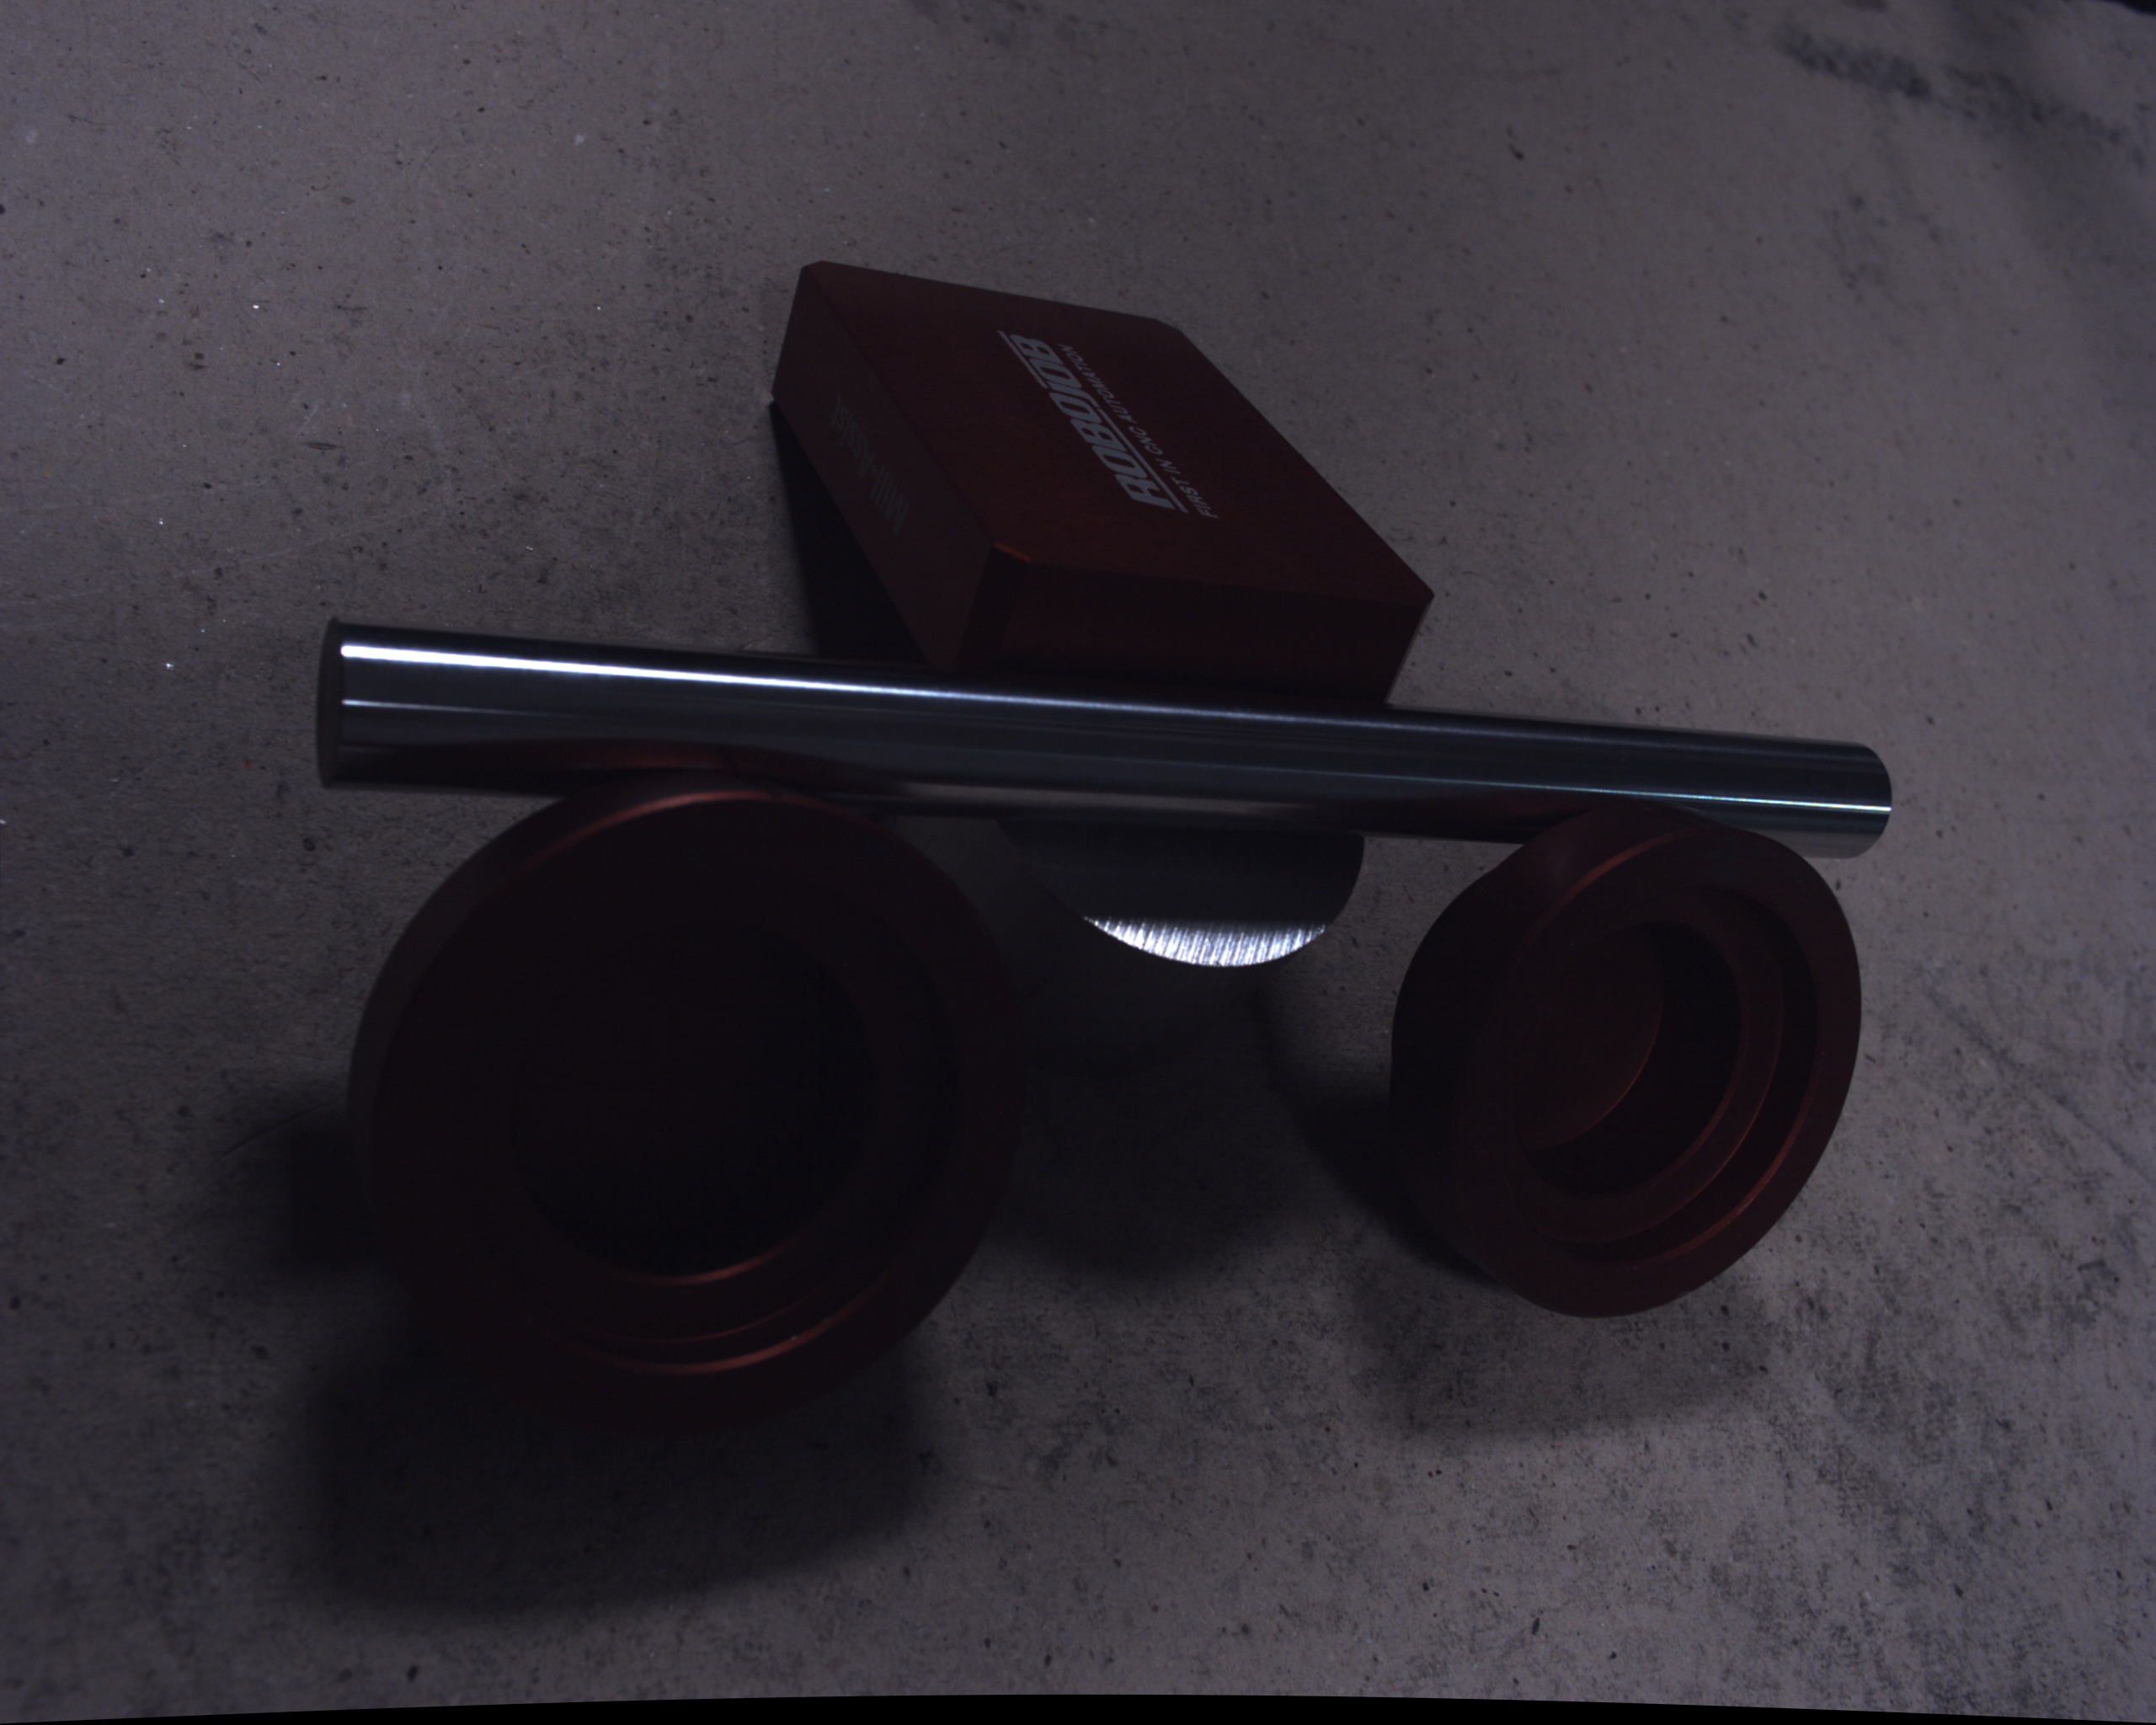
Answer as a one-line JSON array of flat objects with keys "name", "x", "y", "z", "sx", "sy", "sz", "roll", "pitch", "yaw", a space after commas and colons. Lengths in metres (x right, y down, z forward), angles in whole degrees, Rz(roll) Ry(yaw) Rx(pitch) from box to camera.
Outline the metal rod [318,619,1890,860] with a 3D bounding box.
[{"name": "metal rod", "x": 0.027, "y": -0.018, "z": 0.369, "sx": 0.303, "sy": 0.025, "sz": 0.025, "roll": 2, "pitch": 61, "yaw": -28}]

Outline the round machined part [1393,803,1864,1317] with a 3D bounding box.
[{"name": "round machined part", "x": 0.102, "y": 0.035, "z": 0.407, "sx": 0.099, "sy": 0.042, "sz": 0.097, "roll": -8, "pitch": 108, "yaw": -26}]

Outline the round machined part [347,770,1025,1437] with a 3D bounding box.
[{"name": "round machined part", "x": -0.061, "y": 0.034, "z": 0.321, "sx": 0.099, "sy": 0.042, "sz": 0.097, "roll": -6, "pitch": 103, "yaw": -28}]

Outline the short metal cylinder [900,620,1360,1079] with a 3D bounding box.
[{"name": "short metal cylinder", "x": 0.006, "y": -0.005, "z": 0.398, "sx": 0.081, "sy": 0.050, "sz": 0.080, "roll": 14, "pitch": 56, "yaw": -21}]

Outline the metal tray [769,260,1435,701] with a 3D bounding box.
[{"name": "metal tray", "x": 0.000, "y": -0.075, "z": 0.415, "sx": 0.091, "sy": 0.030, "sz": 0.130, "roll": 2, "pitch": 35, "yaw": -28}]
